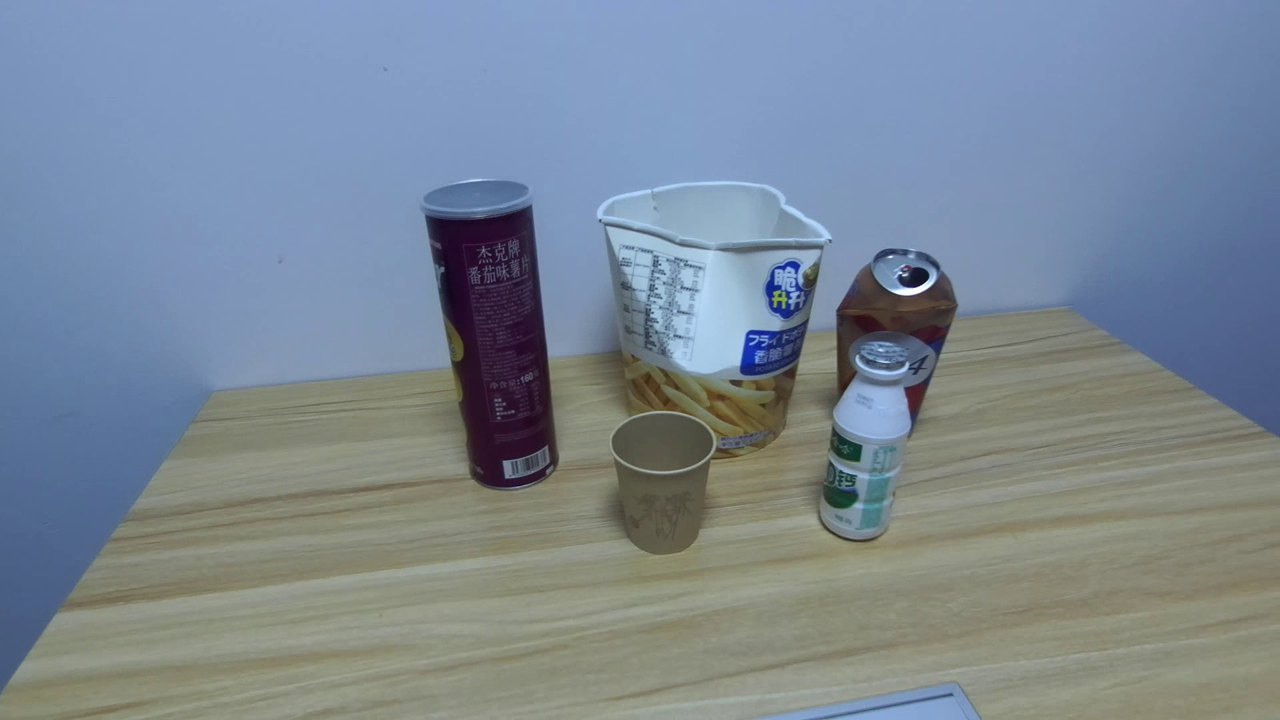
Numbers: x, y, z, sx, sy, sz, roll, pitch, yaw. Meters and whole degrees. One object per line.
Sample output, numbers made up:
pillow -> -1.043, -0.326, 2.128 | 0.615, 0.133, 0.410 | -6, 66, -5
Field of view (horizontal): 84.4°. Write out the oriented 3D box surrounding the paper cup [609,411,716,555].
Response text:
paper cup -> 0.017, 0.092, 0.510 | 0.075, 0.082, 0.075 | -1, 30, 1

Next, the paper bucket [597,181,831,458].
paper bucket -> 0.052, -0.035, 0.615 | 0.163, 0.202, 0.168 | -8, 27, -7

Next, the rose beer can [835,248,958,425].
rose beer can -> 0.211, -0.010, 0.598 | 0.069, 0.168, 0.069 | -19, 39, -20

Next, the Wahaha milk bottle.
Wahaha milk bottle -> 0.159, 0.058, 0.497 | 0.053, 0.147, 0.053 | -1, 29, 1

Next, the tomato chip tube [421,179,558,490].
tomato chip tube -> -0.110, -0.014, 0.551 | 0.078, 0.234, 0.078 | -1, 29, 1
